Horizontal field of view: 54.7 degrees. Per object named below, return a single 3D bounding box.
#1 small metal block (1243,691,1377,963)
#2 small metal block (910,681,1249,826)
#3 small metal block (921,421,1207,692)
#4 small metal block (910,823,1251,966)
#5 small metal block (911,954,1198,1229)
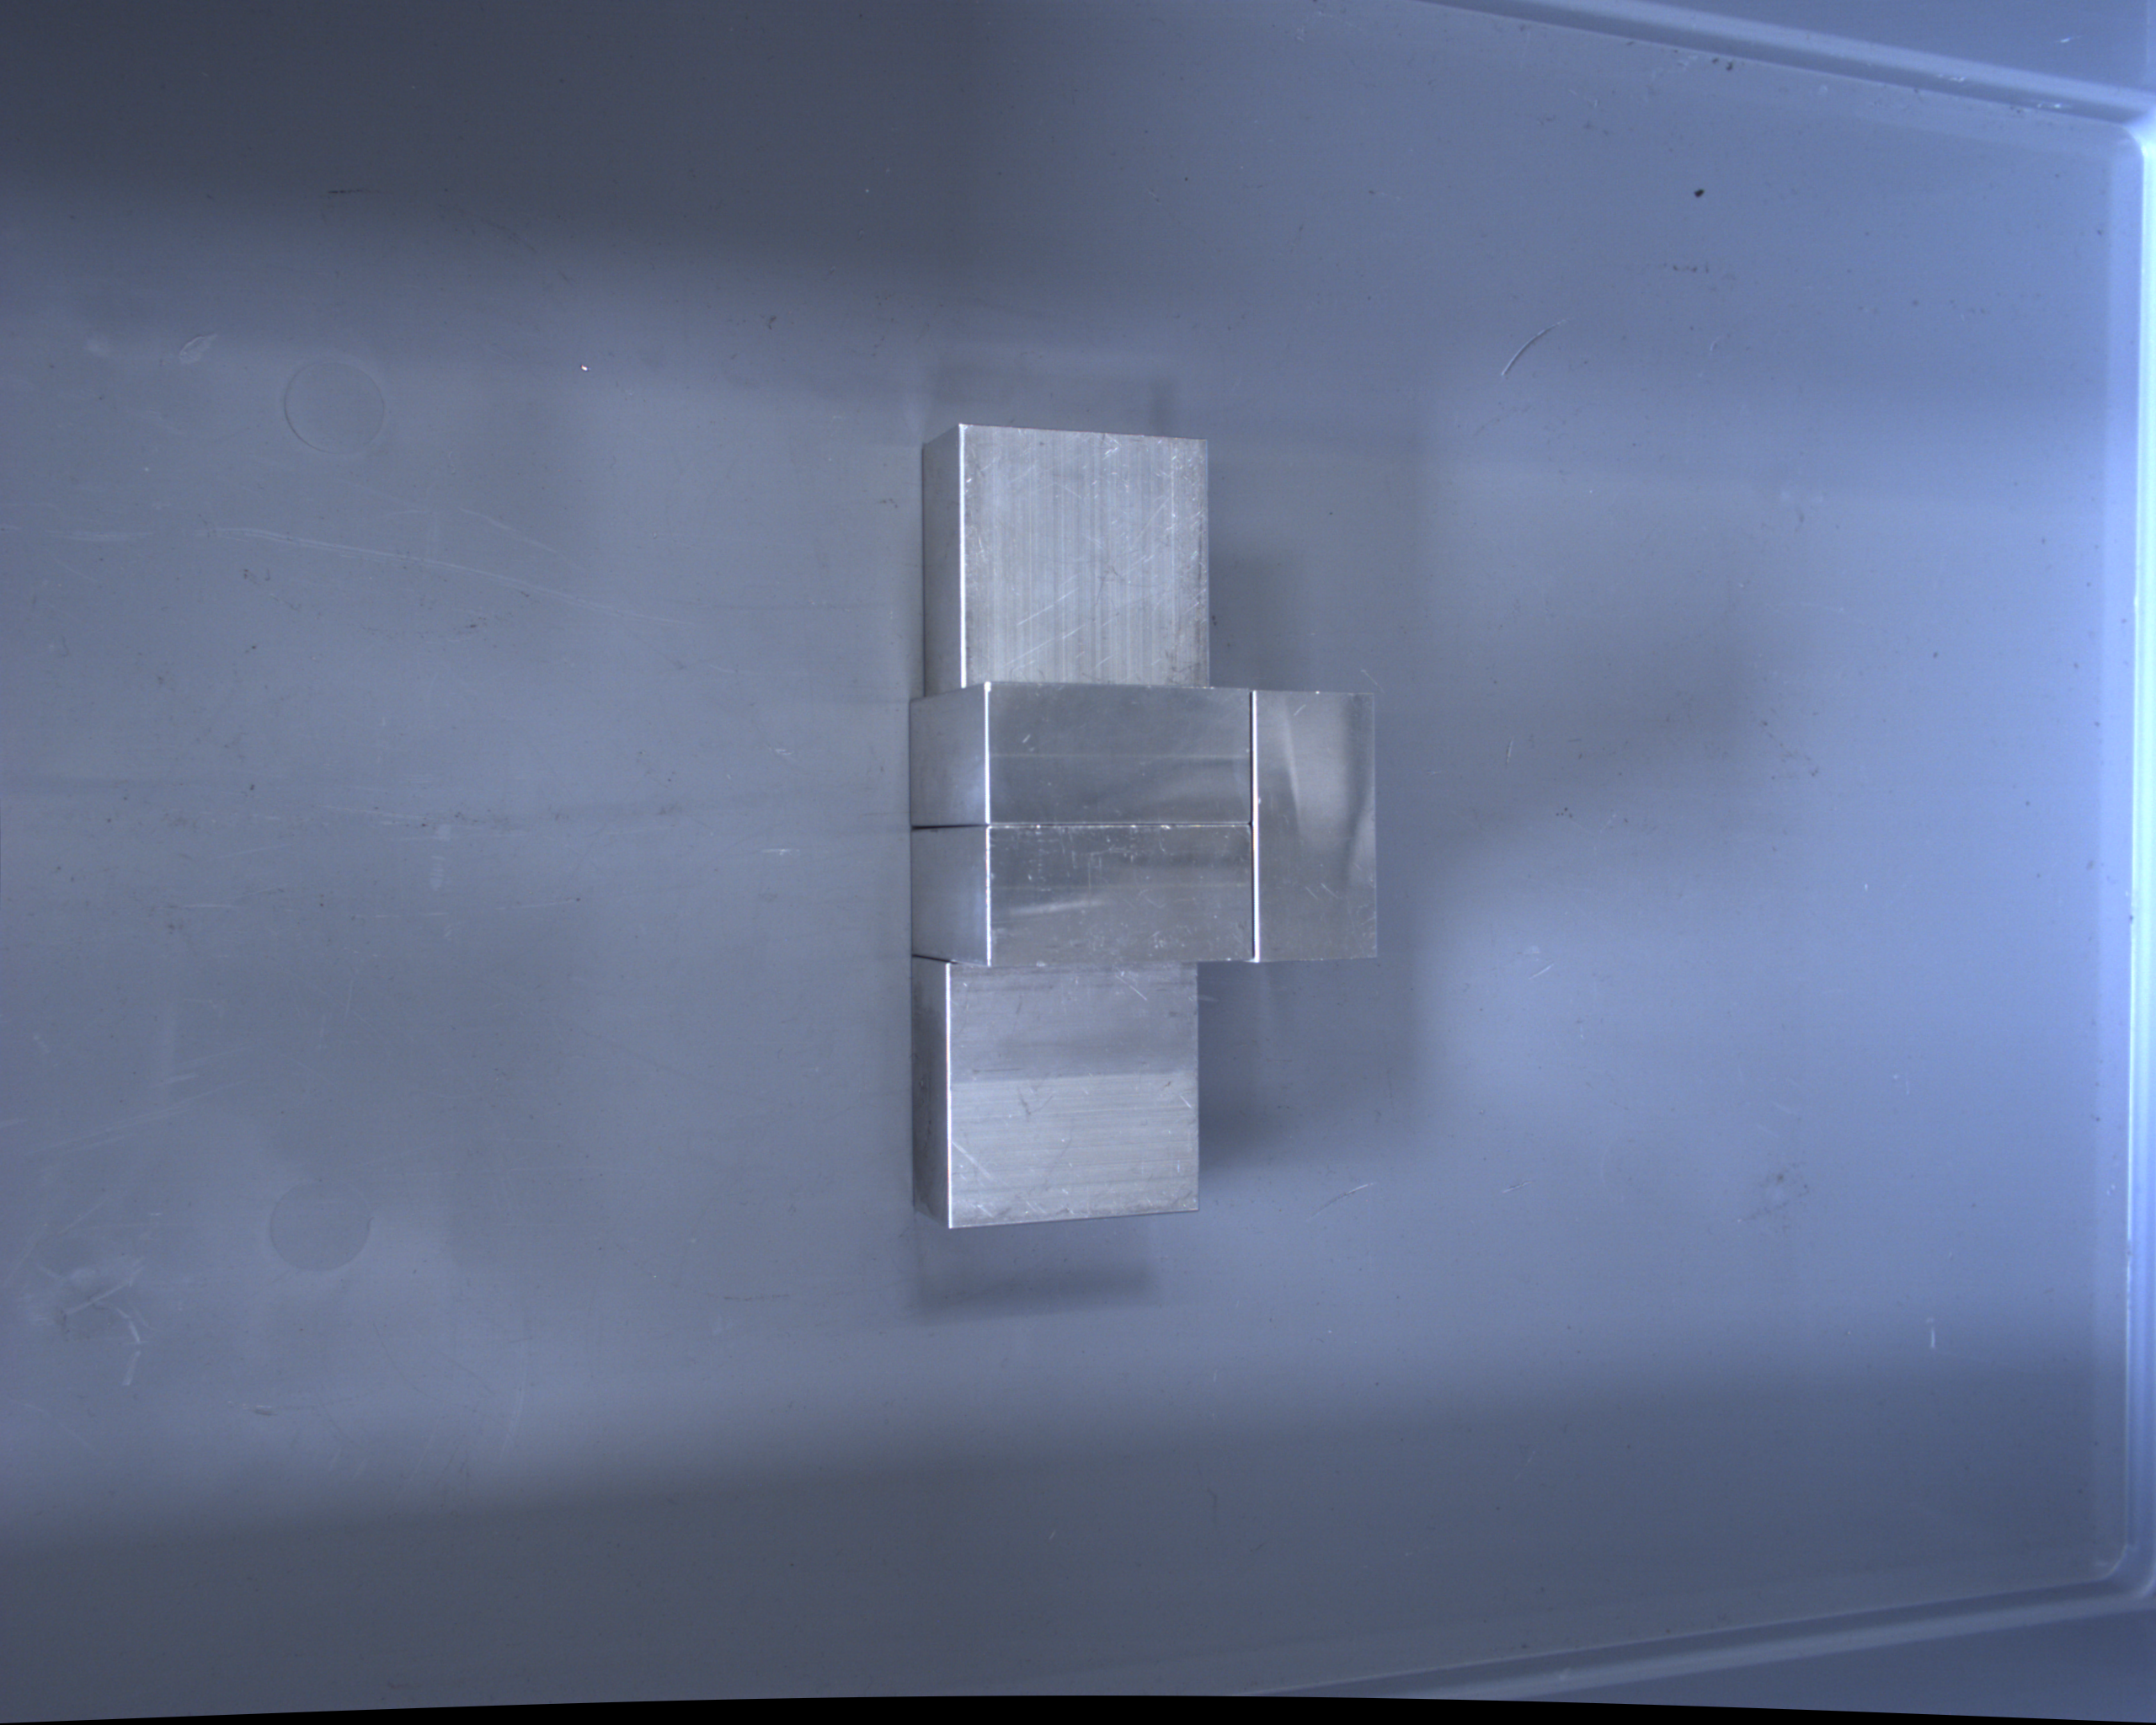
[{"bbox_3d":[0.035,-0.007,0.408,0.025,0.050,0.050,0,90,-20],"label":"small metal block"},{"bbox_3d":[-0.001,-0.019,0.395,0.050,0.050,0.025,0,90,-20],"label":"small metal block"},{"bbox_3d":[-0.003,-0.057,0.407,0.050,0.025,0.050,0,90,-20],"label":"small metal block"},{"bbox_3d":[-0.001,0.005,0.395,0.050,0.050,0.025,0,90,-20],"label":"small metal block"},{"bbox_3d":[-0.005,0.043,0.407,0.050,0.025,0.050,0,90,-20],"label":"small metal block"}]
